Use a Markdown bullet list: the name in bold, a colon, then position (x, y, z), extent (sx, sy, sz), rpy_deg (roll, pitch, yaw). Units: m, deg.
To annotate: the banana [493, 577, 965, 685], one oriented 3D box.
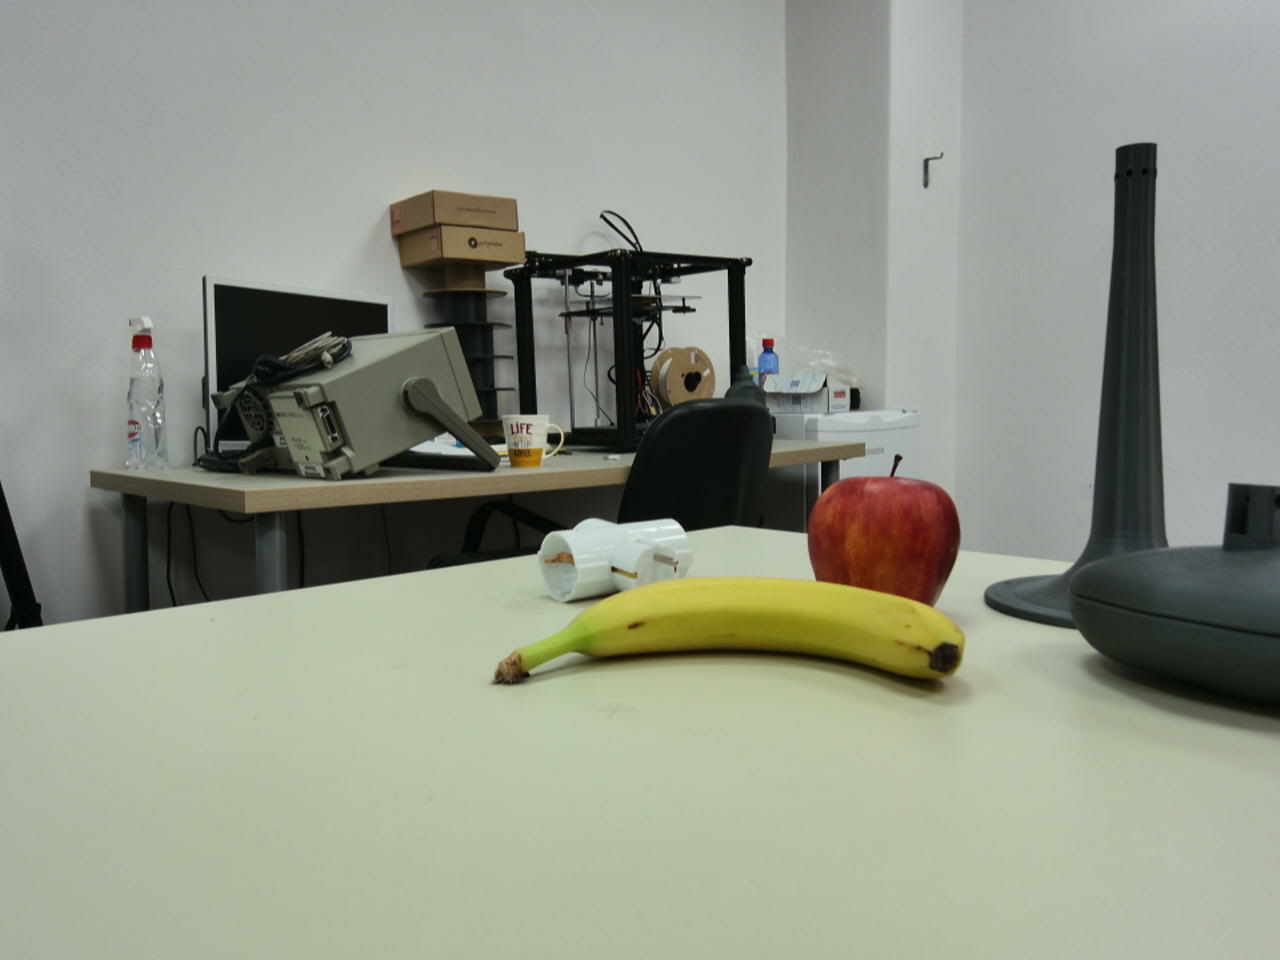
- **banana**: position (0.041, 0.068, 0.463), extent (0.196, 0.041, 0.094), rpy_deg (1, 3, 14)
